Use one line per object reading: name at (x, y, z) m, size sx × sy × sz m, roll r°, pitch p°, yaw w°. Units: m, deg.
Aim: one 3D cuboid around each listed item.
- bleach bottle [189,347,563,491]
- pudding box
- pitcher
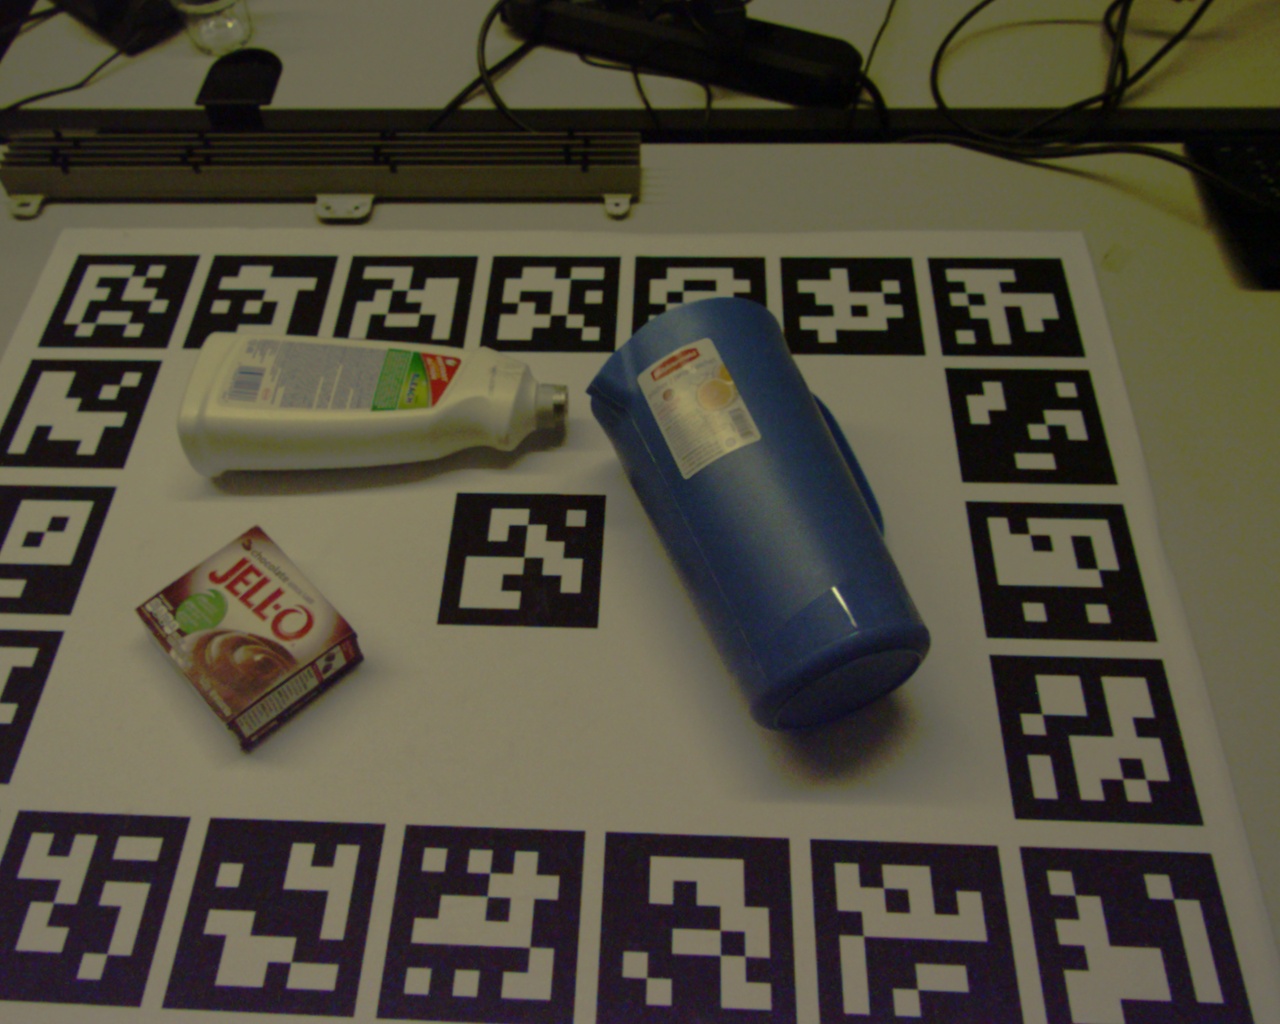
bleach bottle at (-0.181, -0.069, 0.809) m, size 0.251 × 0.067 × 0.103 m, roll -1°, pitch 61°, yaw -1°
pudding box at (-0.245, 0.080, 0.722) m, size 0.089 × 0.038 × 0.115 m, roll -35°, pitch 64°, yaw -26°
pitcher at (0.077, 0.015, 0.723) m, size 0.186 × 0.134 × 0.244 m, roll 0°, pitch 54°, yaw -40°
